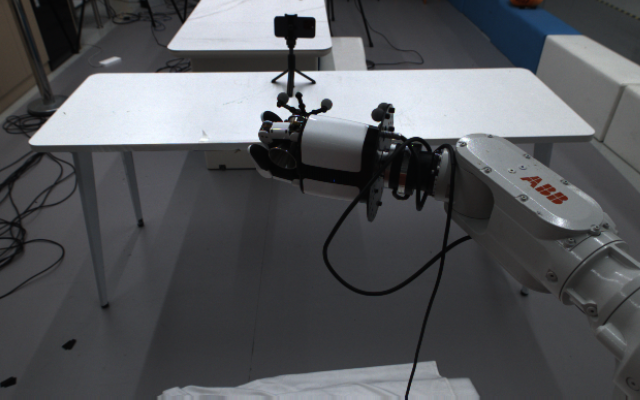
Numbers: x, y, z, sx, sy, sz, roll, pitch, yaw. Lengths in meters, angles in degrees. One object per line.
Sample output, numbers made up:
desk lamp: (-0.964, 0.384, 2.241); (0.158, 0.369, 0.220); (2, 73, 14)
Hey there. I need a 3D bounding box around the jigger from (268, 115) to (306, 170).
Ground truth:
jigger: (-0.038, -0.083, 0.686); (0.043, 0.043, 0.071); (13, 58, 16)
